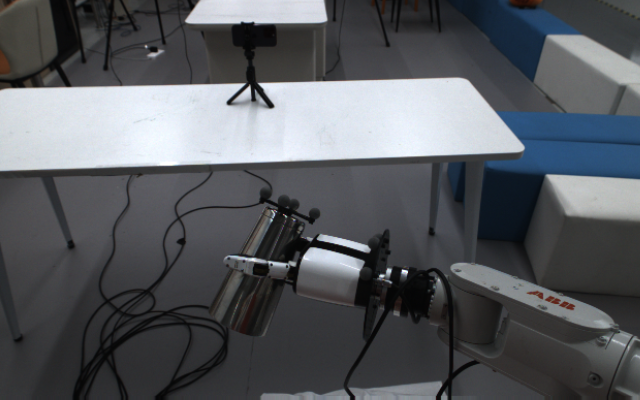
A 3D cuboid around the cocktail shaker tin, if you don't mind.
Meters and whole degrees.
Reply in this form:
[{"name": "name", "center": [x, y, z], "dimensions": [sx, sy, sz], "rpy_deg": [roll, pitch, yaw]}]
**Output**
[{"name": "cocktail shaker tin", "center": [-0.083, 0.097, 0.704], "dimensions": [0.093, 0.170, 0.093], "rpy_deg": [23, 0, 0]}]
